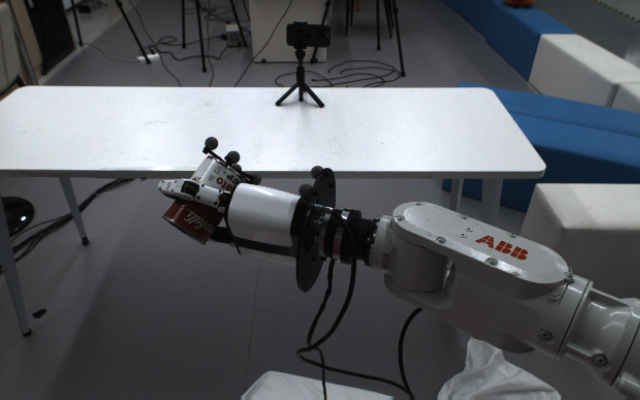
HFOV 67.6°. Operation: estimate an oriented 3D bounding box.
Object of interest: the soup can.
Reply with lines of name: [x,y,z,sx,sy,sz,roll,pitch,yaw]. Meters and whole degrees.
soup can: [-0.153,0.001,0.647,0.067,0.067,0.101,24,73,29]
